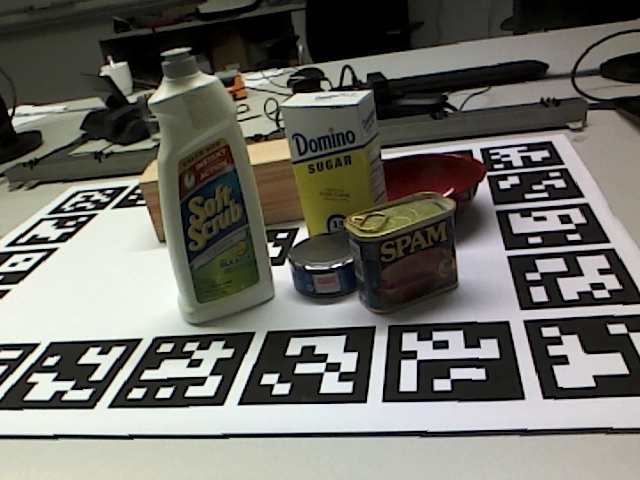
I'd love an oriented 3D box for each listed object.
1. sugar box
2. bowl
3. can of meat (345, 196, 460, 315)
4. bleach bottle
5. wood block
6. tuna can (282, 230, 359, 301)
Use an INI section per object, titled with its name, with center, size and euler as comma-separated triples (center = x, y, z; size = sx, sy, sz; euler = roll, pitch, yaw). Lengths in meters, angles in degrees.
[sugar box]
center = 0.025, -0.067, 0.656
size = 0.093, 0.176, 0.045
euler = 2, 30, 34
[bowl]
center = 0.127, -0.055, 0.737
size = 0.162, 0.055, 0.162
euler = -13, 24, 5
[can of meat]
center = 0.082, 0.014, 0.588
size = 0.101, 0.083, 0.058
euler = -17, 22, -15
[bleach bottle]
center = -0.113, -0.048, 0.595
size = 0.102, 0.250, 0.068
euler = -16, 24, -10
[wood block]
center = -0.120, -0.067, 0.830
size = 0.206, 0.089, 0.091
euler = -8, 30, 4
[tuna can]
center = 0.006, 0.025, 0.637
size = 0.086, 0.033, 0.086
euler = -10, 28, 5
